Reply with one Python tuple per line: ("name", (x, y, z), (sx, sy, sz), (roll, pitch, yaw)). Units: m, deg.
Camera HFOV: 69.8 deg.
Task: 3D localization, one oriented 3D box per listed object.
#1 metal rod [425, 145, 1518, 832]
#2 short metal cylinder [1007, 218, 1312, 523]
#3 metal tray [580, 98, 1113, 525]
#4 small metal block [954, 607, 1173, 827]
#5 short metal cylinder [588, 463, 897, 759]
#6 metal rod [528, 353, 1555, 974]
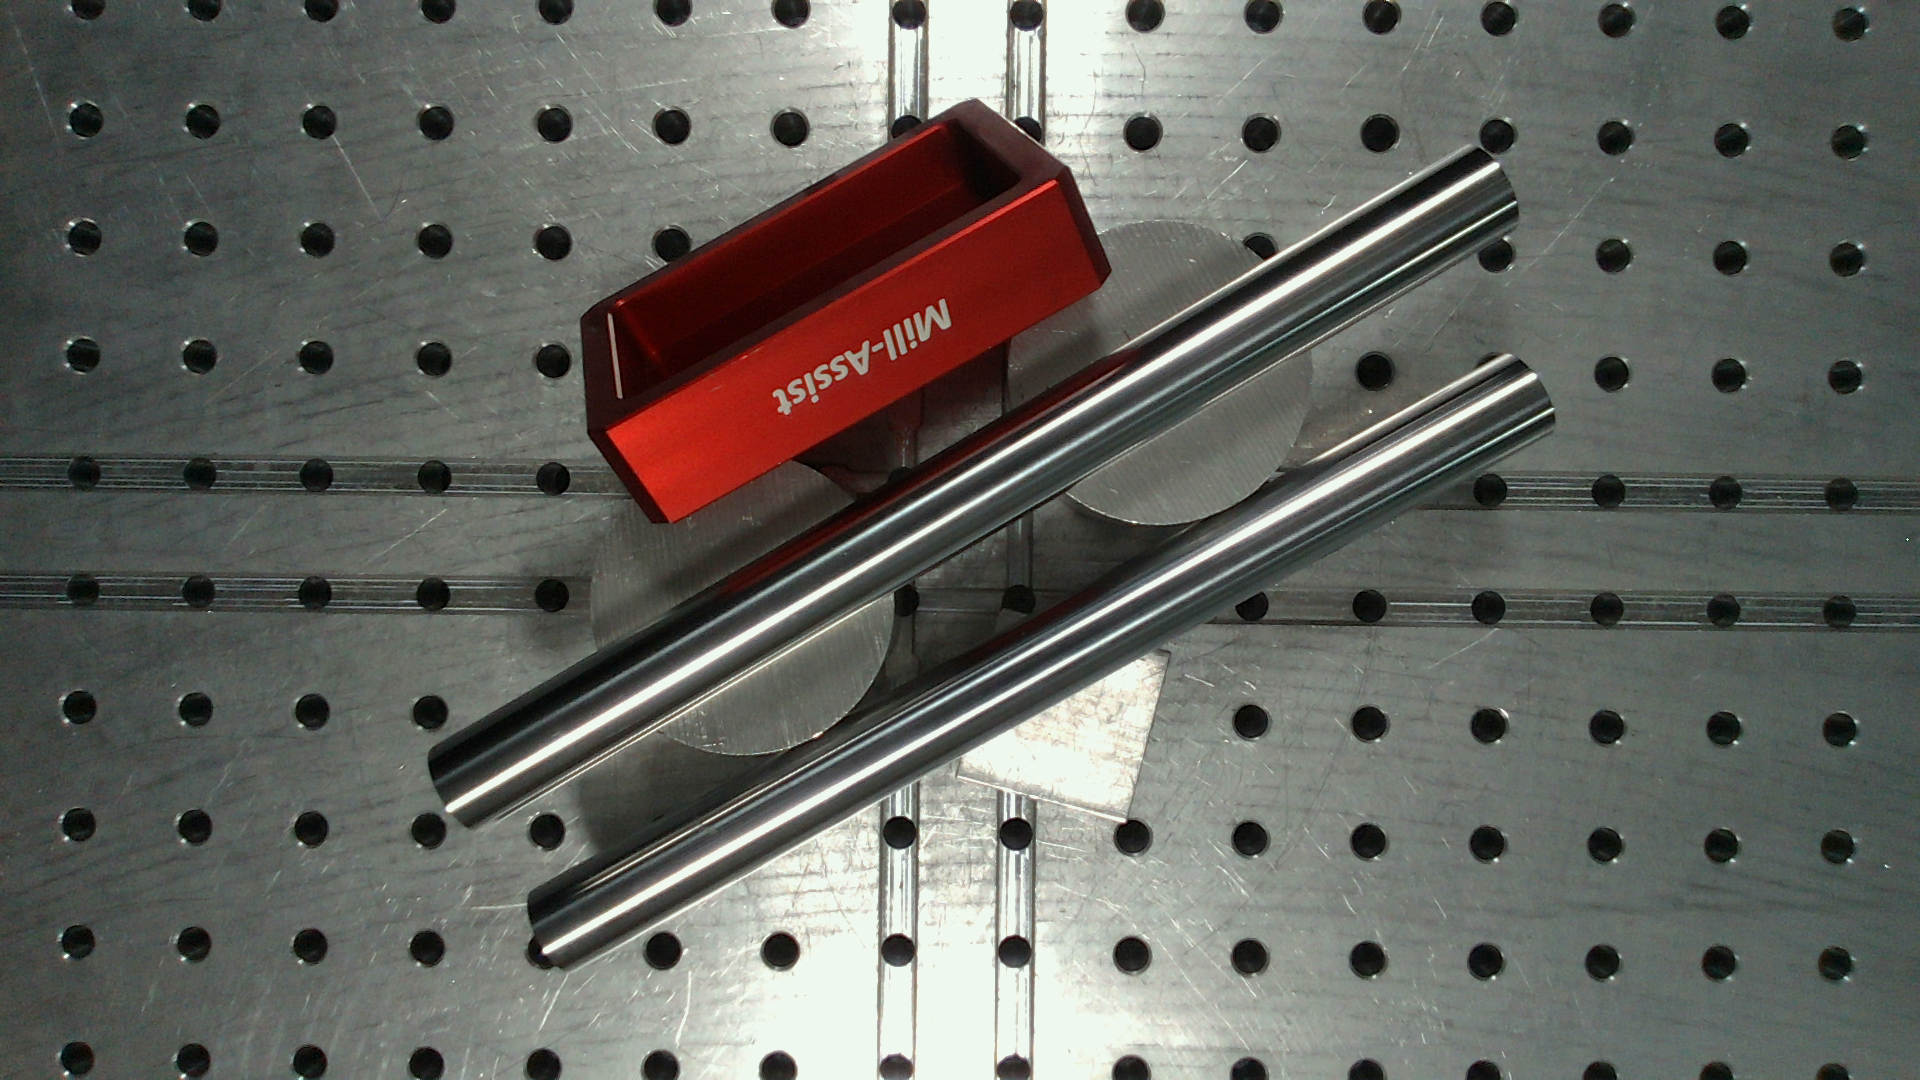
("metal rod", (0.003, -0.013, 0.347), (0.300, 0.025, 0.025), (-30, 90, 0))
("short metal cylinder", (0.053, -0.045, 0.386), (0.080, 0.050, 0.080), (0, 90, 0))
("metal tray", (-0.035, -0.064, 0.363), (0.130, 0.090, 0.030), (-29, 122, 0))
("small metal block", (0.029, 0.050, 0.397), (0.050, 0.025, 0.050), (15, 90, 0))
("short metal cylinder", (-0.057, 0.017, 0.385), (0.080, 0.050, 0.080), (0, 90, 0))
("metal rod", (0.022, 0.033, 0.372), (0.300, 0.025, 0.025), (-29, 90, 0))
